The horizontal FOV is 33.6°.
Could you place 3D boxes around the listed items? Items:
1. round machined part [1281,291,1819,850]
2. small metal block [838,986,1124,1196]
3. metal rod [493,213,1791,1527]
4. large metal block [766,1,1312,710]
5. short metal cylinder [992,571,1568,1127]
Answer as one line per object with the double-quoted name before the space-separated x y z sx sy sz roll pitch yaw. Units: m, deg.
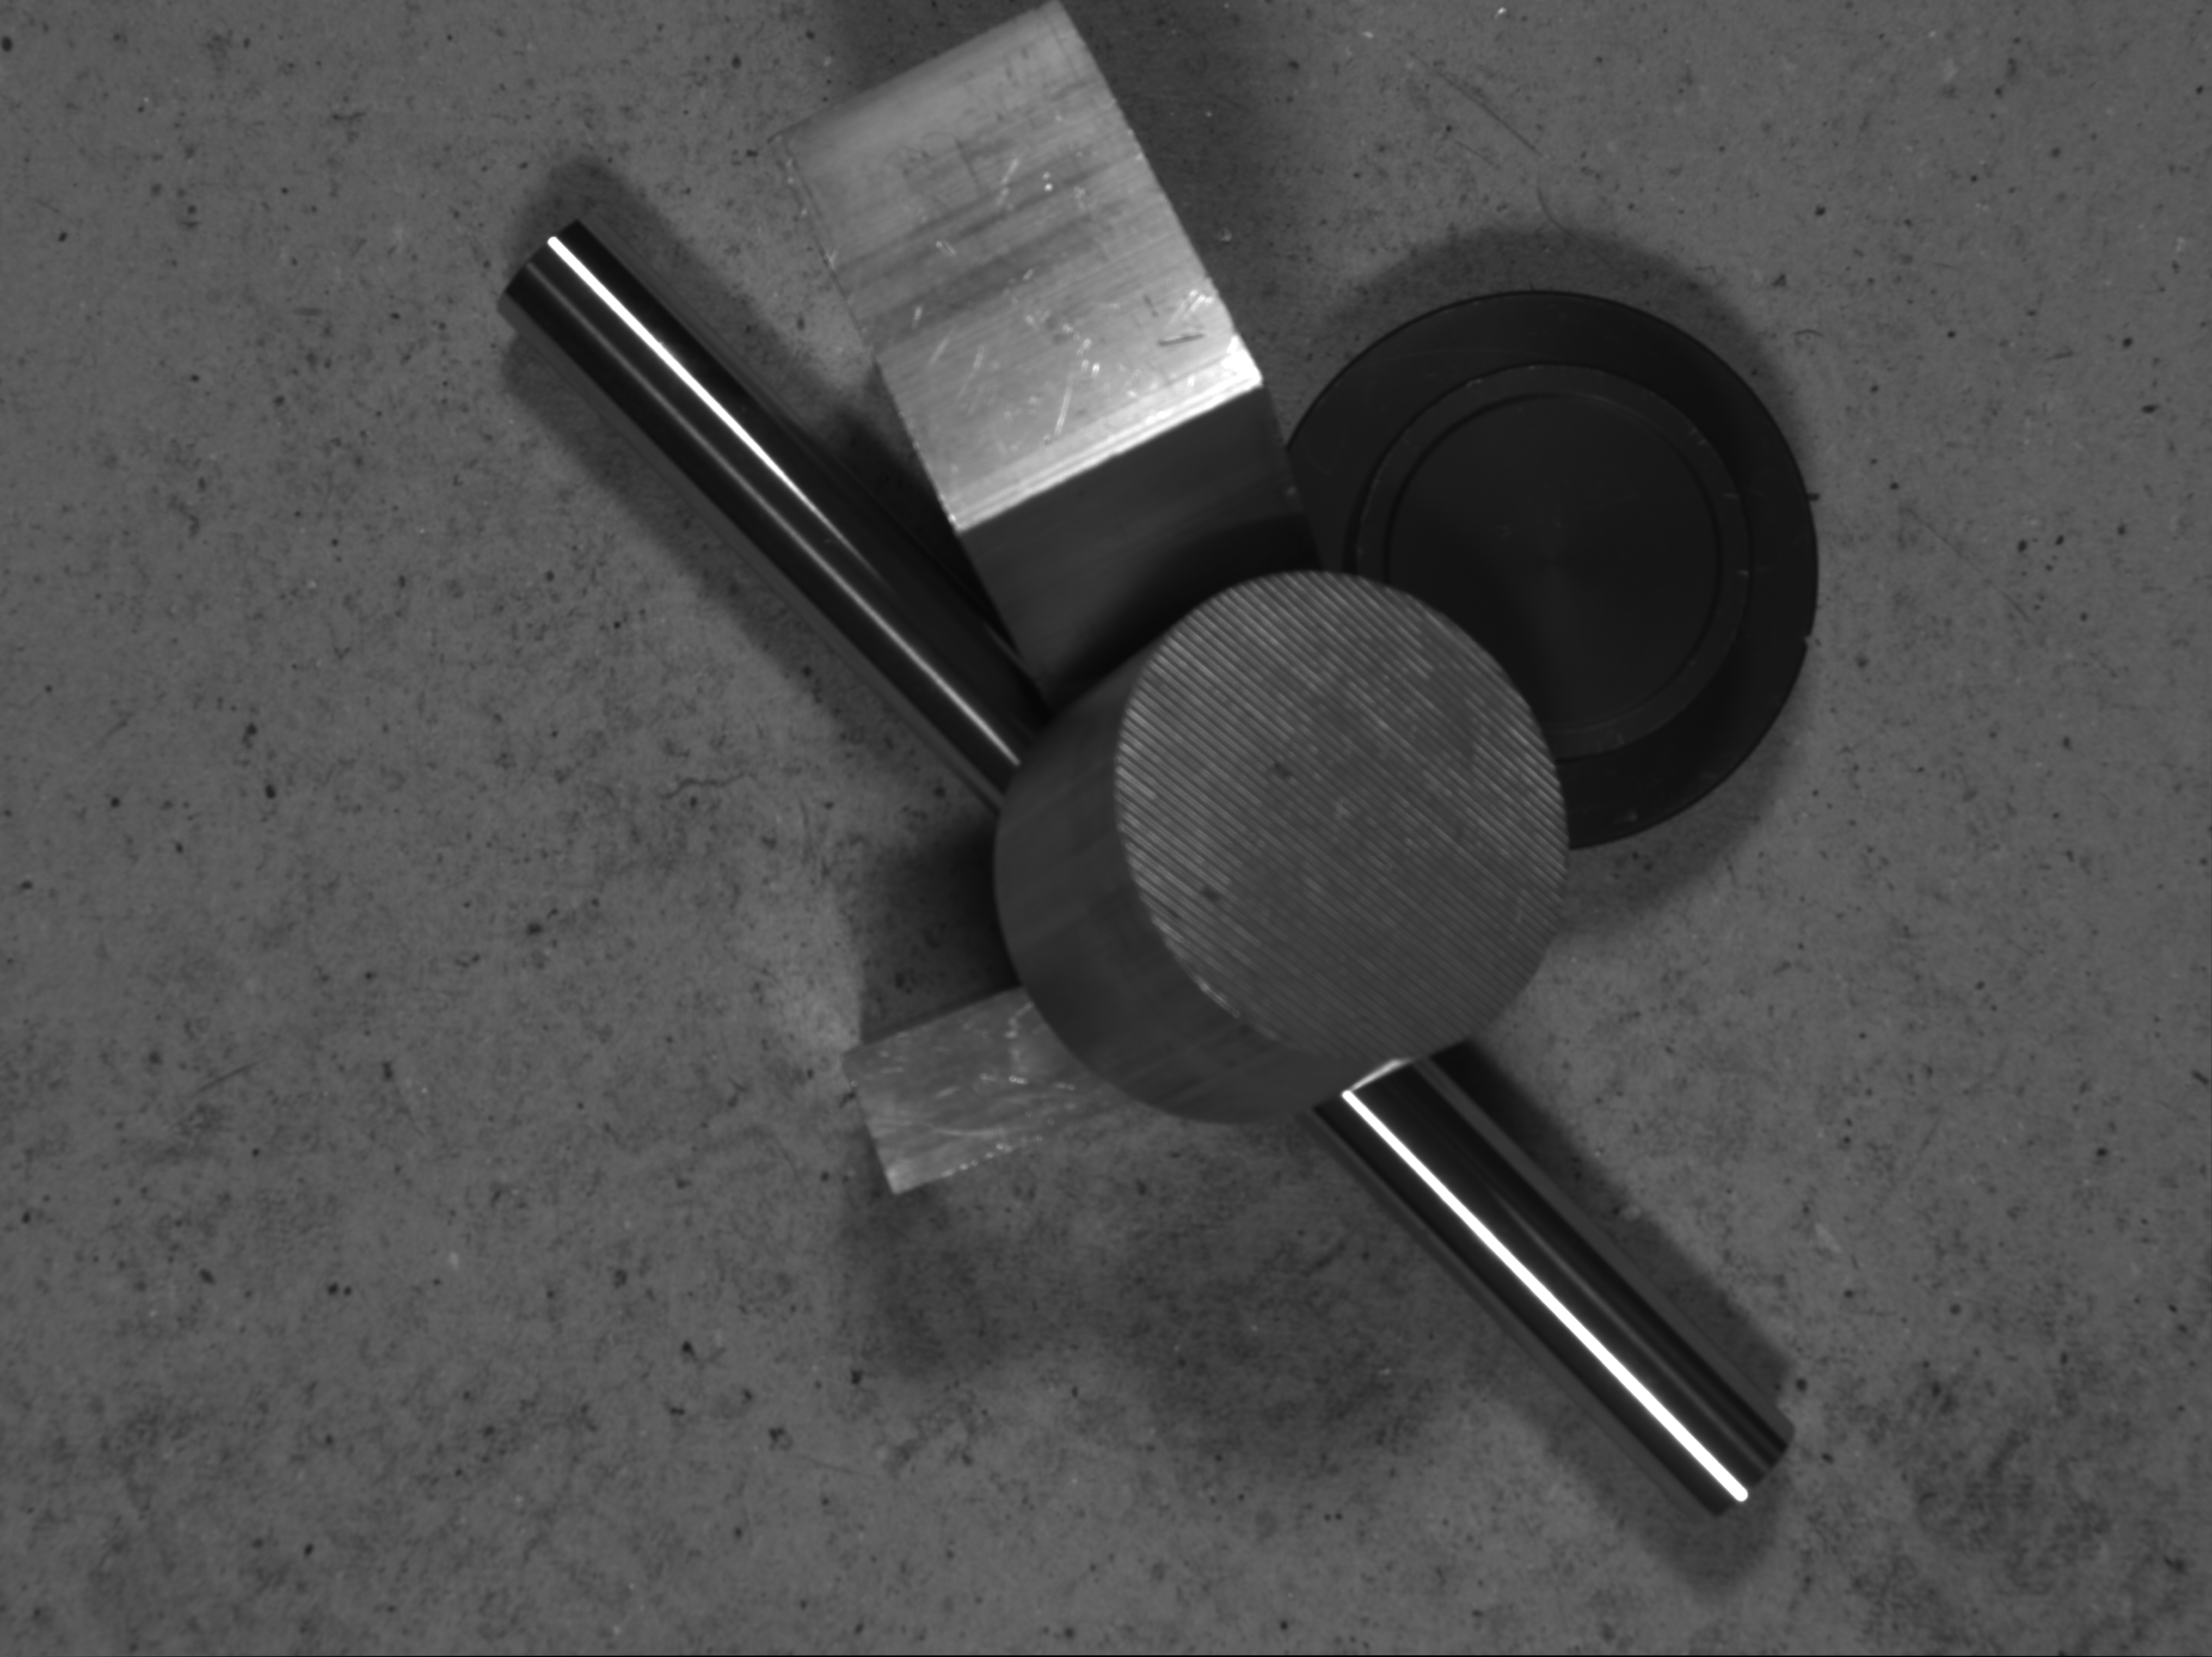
"round machined part" 0.076 -0.045 0.637 0.098 0.042 0.098 0 90 0
"small metal block" -0.017 0.041 0.633 0.050 0.050 0.025 -21 89 -1
"metal rod" 0.006 0.007 0.646 0.025 0.025 0.300 -45 90 0
"large metal block" -0.008 -0.076 0.607 0.050 0.080 0.080 -26 68 1
"short metal cylinder" 0.028 0.004 0.596 0.080 0.050 0.080 7 71 -22
